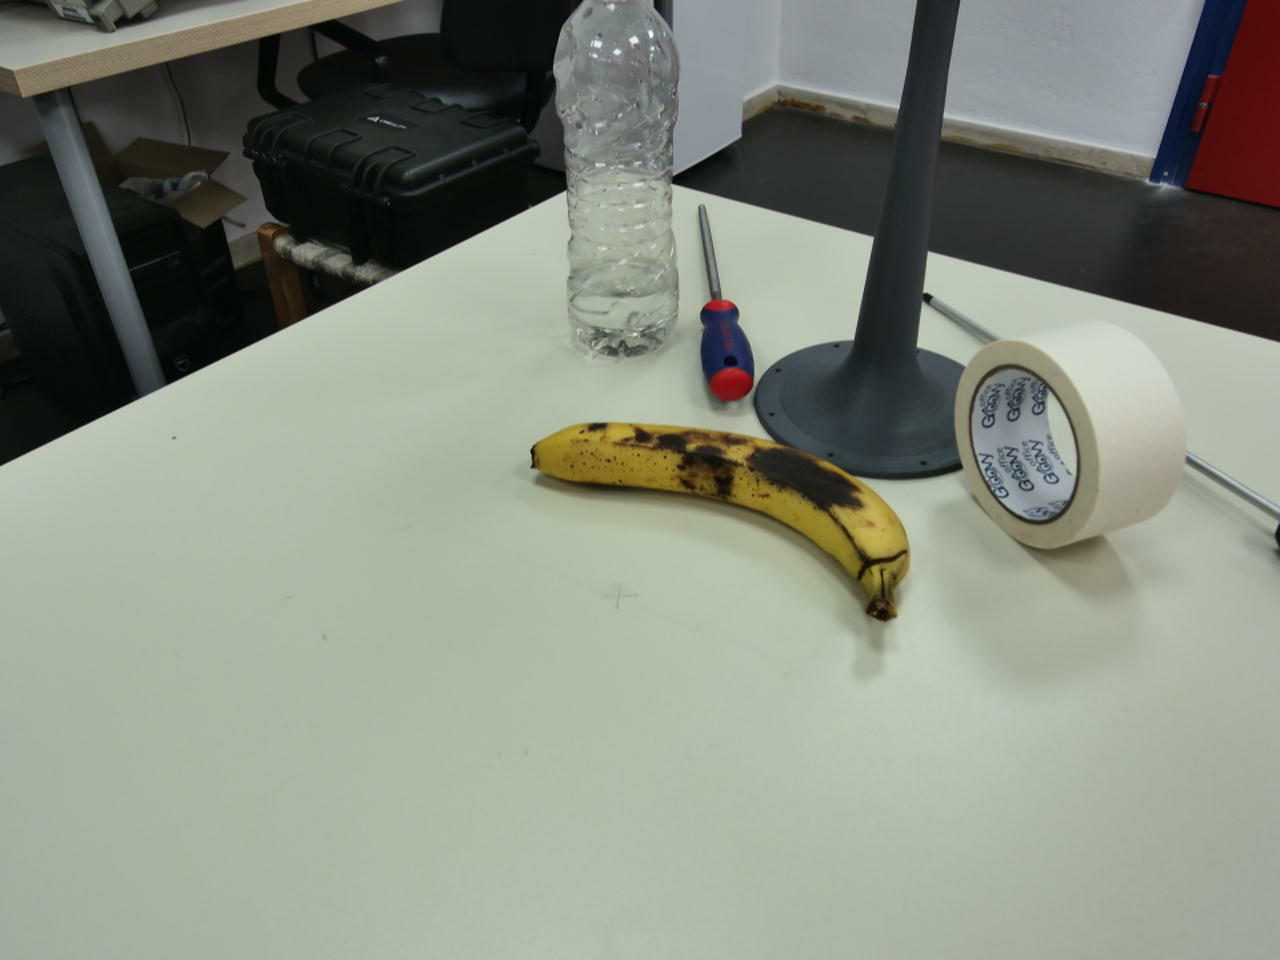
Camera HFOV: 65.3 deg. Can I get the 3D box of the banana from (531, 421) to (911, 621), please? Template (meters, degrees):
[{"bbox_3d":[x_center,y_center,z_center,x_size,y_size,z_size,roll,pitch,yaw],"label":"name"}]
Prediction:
[{"bbox_3d":[0.048,0.004,0.525,0.222,0.037,0.084,25,44,30],"label":"banana"}]
